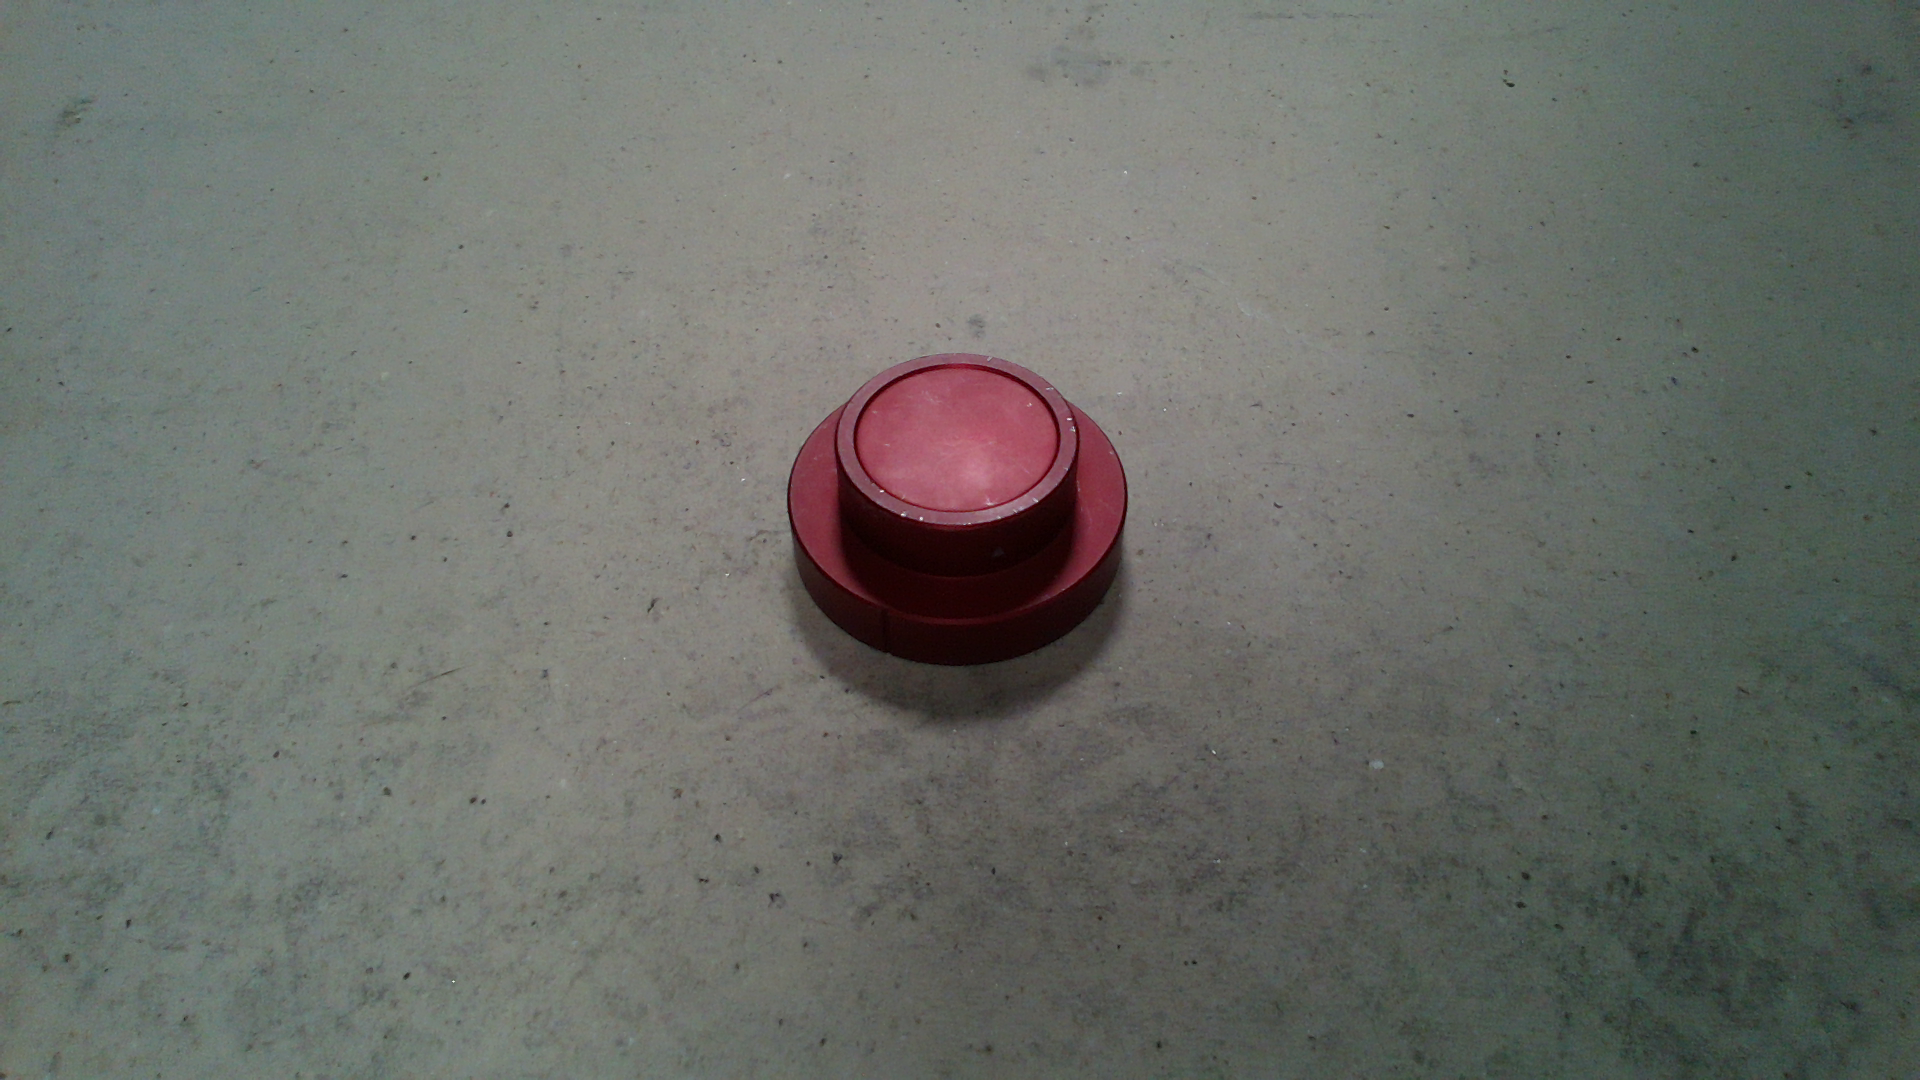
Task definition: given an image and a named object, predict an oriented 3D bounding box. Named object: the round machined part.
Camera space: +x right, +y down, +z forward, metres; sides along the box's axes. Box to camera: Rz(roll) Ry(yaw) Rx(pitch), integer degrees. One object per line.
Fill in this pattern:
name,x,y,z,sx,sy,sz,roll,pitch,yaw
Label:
round machined part,-0.001,-0.016,0.394,0.098,0.042,0.098,0,50,0
